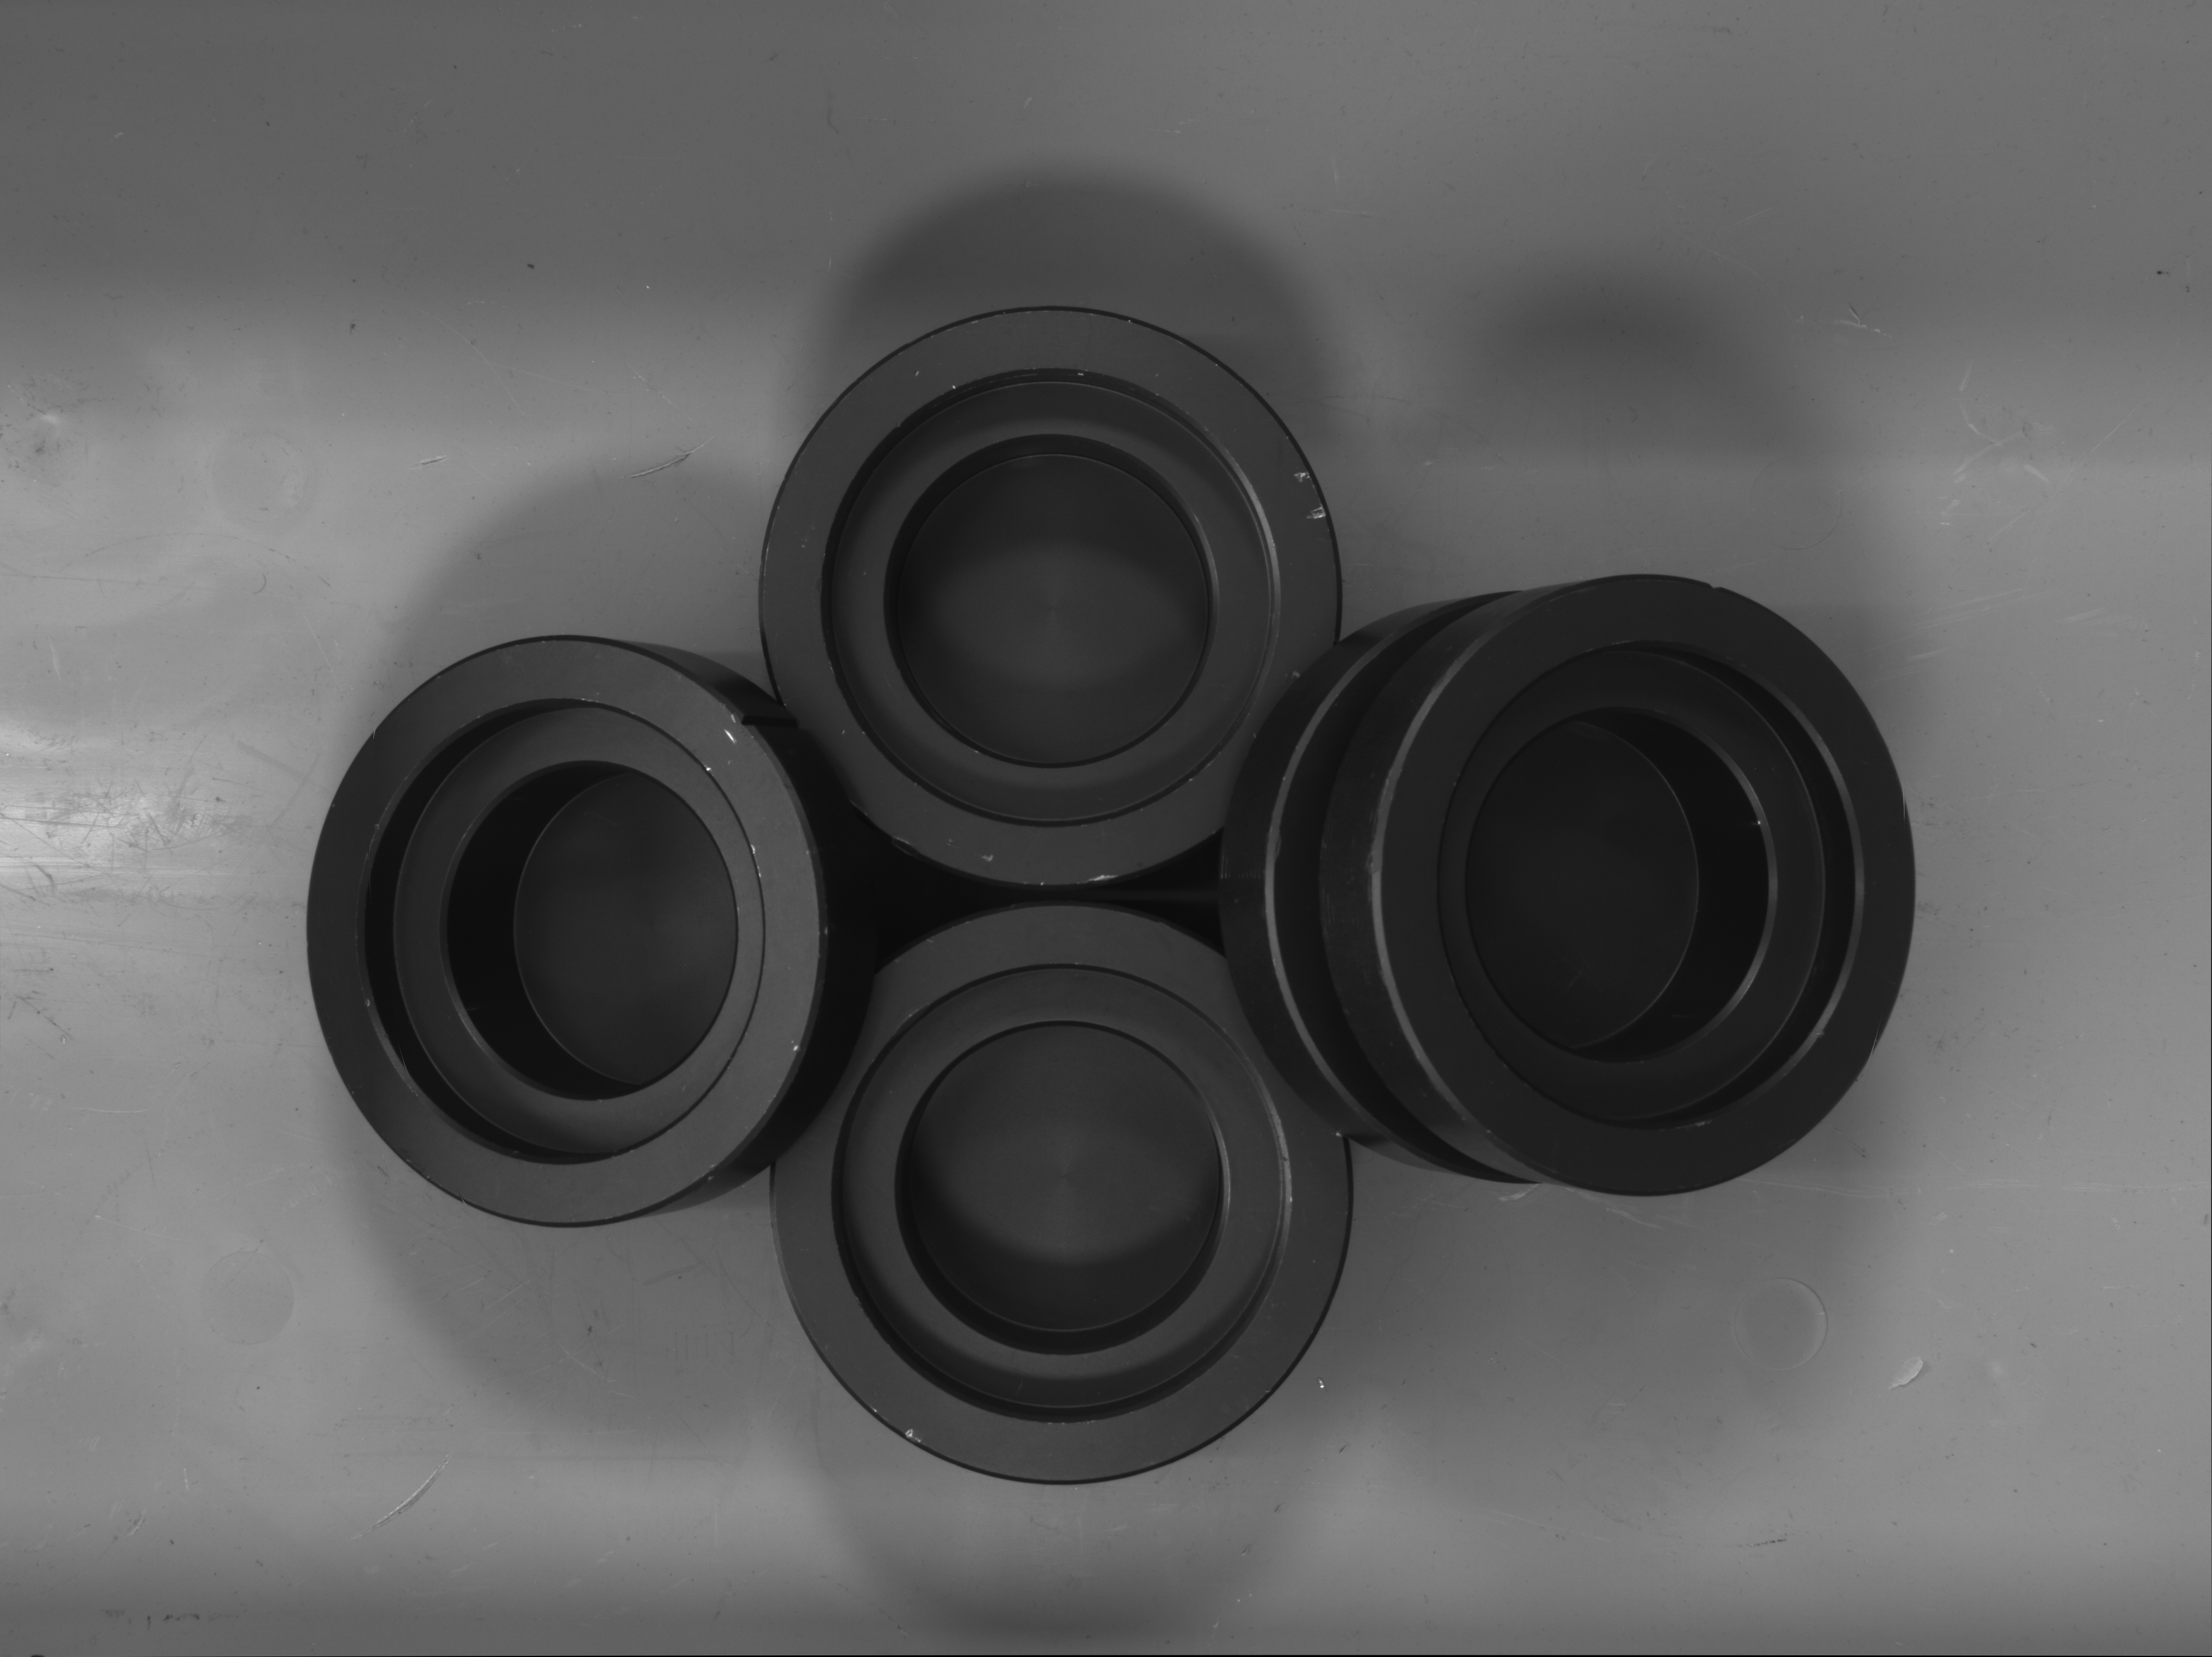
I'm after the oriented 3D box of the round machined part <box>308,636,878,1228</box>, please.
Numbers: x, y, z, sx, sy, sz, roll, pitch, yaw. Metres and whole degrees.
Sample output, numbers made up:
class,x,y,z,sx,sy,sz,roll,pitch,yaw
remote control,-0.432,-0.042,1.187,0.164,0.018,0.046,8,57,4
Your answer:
class,x,y,z,sx,sy,sz,roll,pitch,yaw
round machined part,-0.083,0.017,0.625,0.098,0.042,0.098,0,89,21

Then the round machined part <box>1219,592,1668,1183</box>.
class,x,y,z,sx,sy,sz,roll,pitch,yaw
round machined part,0.064,0.010,0.625,0.098,0.042,0.098,0,89,-22

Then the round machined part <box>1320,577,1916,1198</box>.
class,x,y,z,sx,sy,sz,roll,pitch,yaw
round machined part,0.079,0.009,0.597,0.098,0.042,0.098,0,90,-22

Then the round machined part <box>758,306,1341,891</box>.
class,x,y,z,sx,sy,sz,roll,pitch,yaw
round machined part,-0.009,-0.039,0.635,0.098,0.042,0.098,0,90,0

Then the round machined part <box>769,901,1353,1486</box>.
class,x,y,z,sx,sy,sz,roll,pitch,yaw
round machined part,-0.007,0.061,0.635,0.098,0.042,0.098,0,90,0
